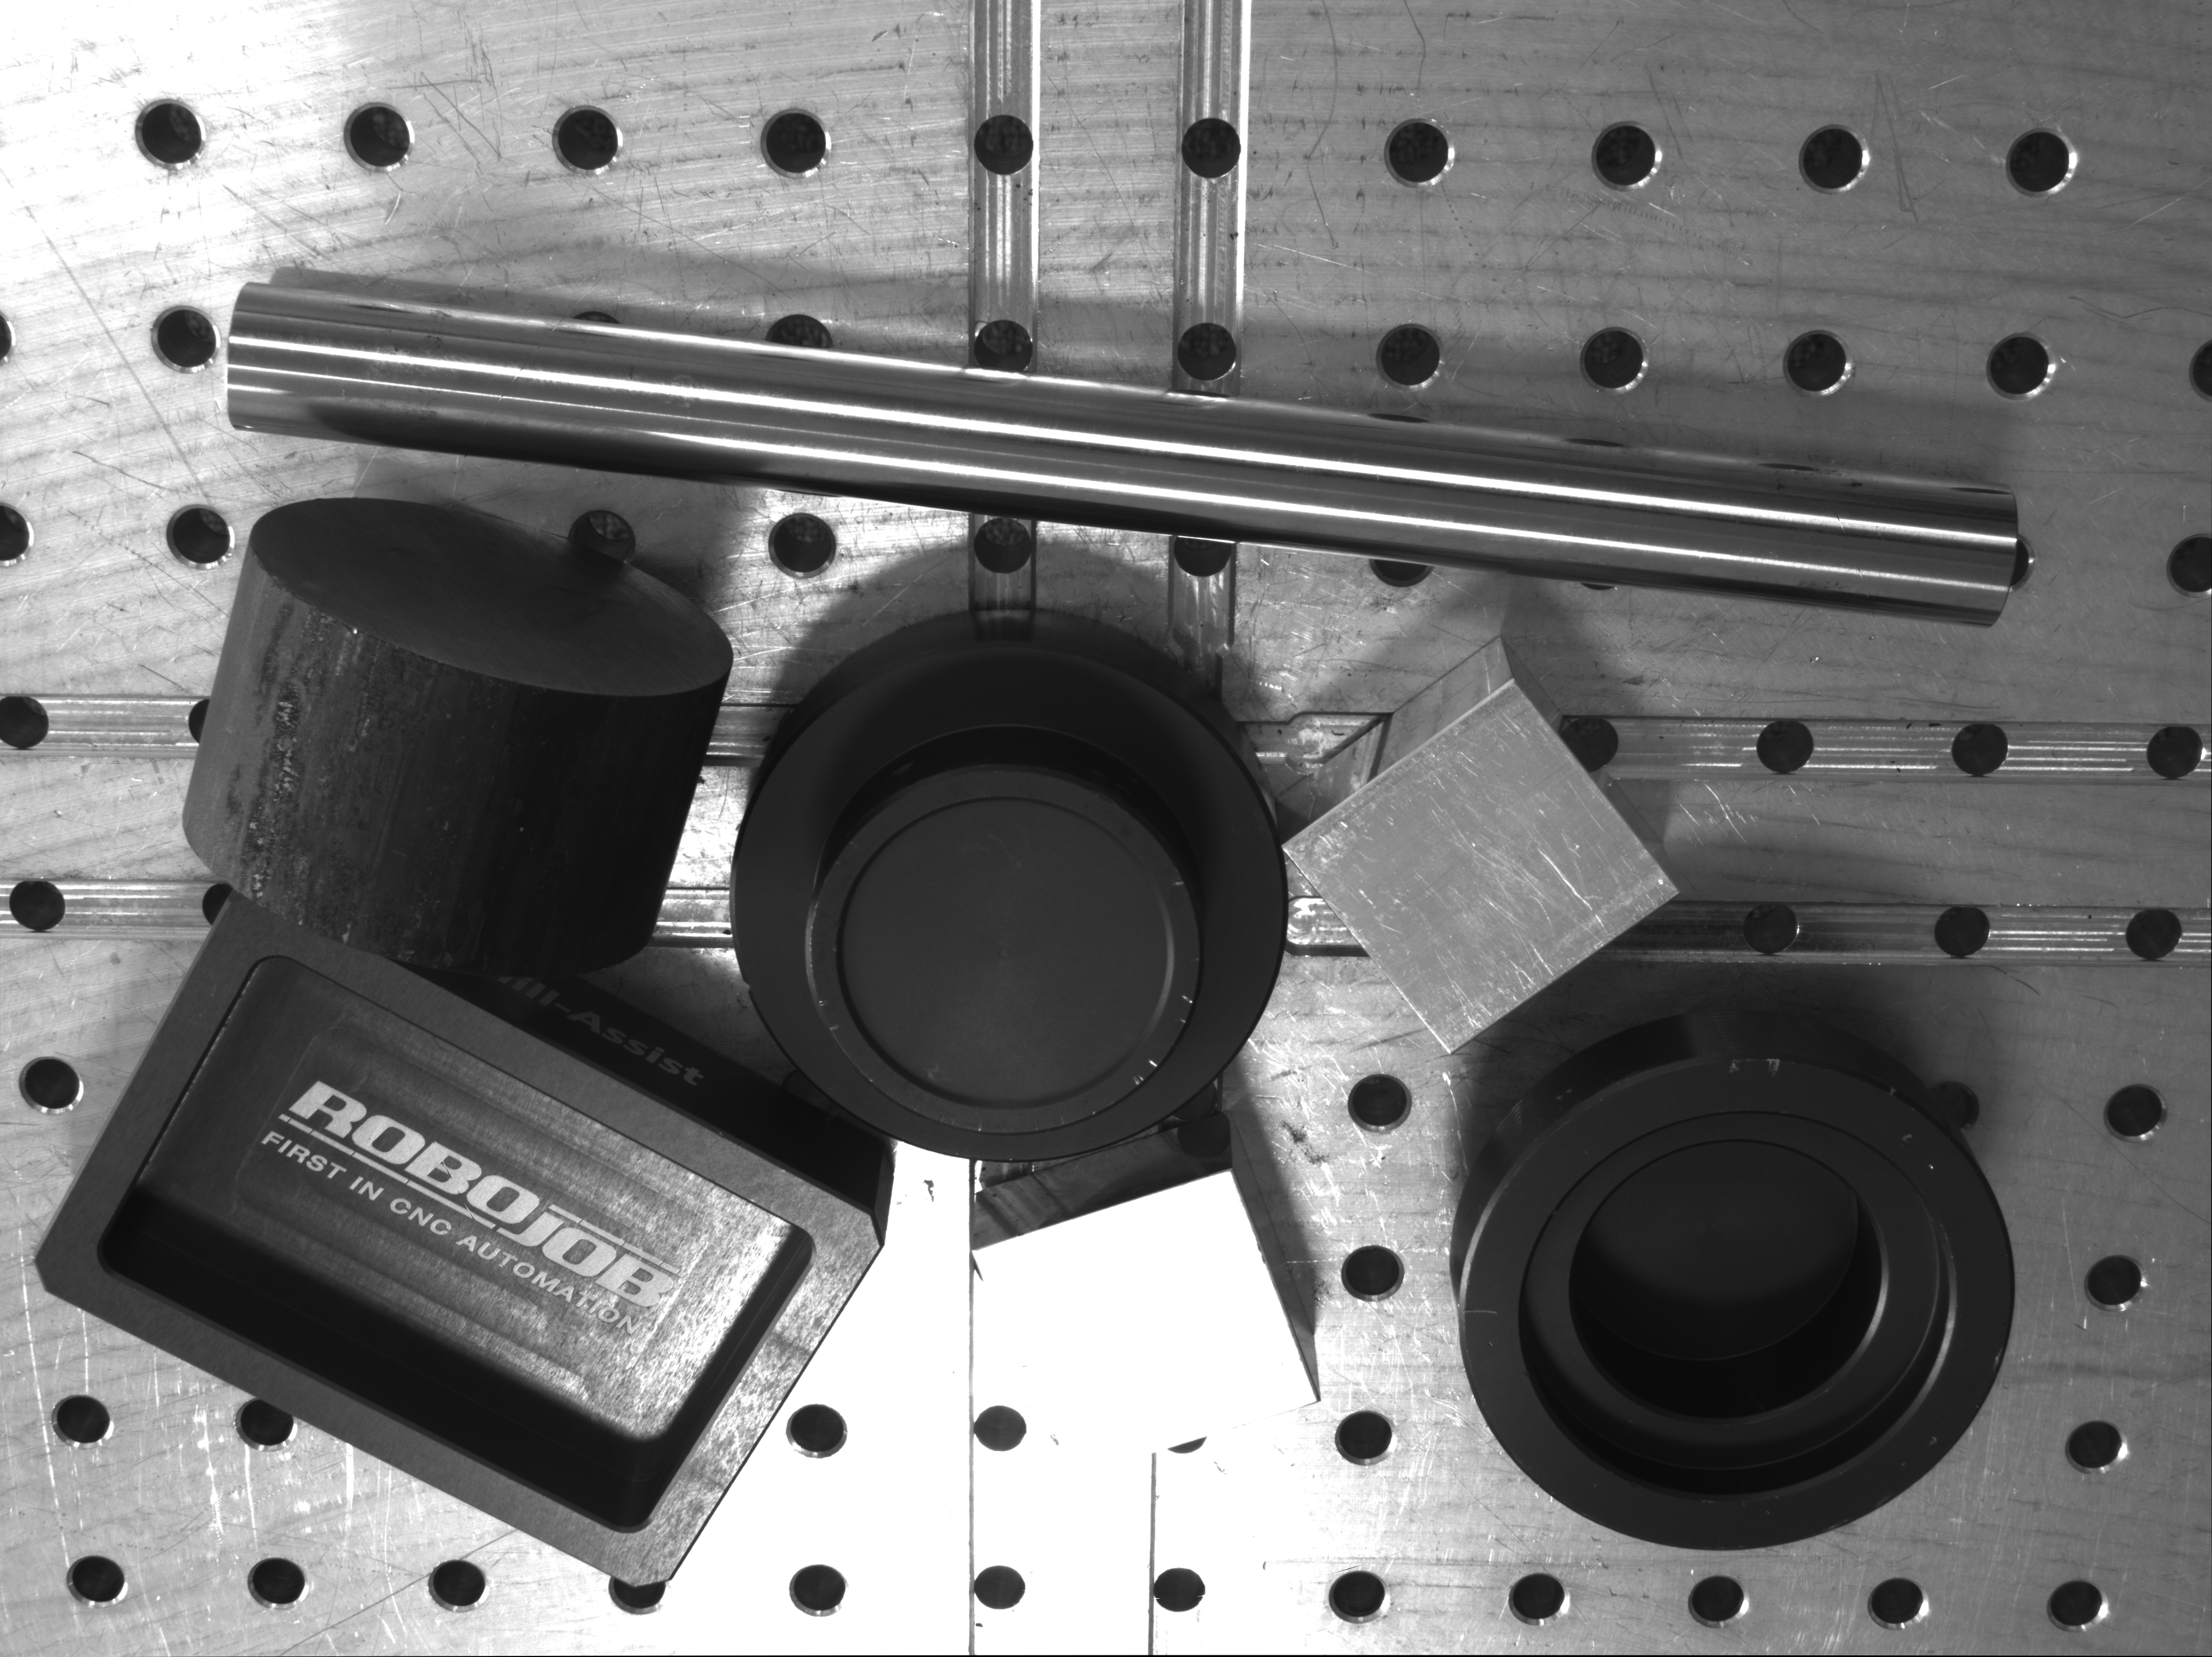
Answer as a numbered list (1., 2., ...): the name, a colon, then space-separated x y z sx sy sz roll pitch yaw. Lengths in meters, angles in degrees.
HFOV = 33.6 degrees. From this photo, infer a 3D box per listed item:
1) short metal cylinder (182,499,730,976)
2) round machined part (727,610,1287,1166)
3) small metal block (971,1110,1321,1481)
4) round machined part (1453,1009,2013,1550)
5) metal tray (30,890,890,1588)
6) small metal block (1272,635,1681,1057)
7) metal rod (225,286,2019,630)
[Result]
1. short metal cylinder: -0.108 -0.016 0.610 0.080 0.080 0.050 17 109 -6
2. round machined part: -0.017 0.014 0.641 0.098 0.042 0.098 0 107 0
3. small metal block: 0.008 0.086 0.677 0.050 0.025 0.050 -18 109 6
4. round machined part: 0.111 0.078 0.665 0.098 0.042 0.098 0 110 0
5. metal tray: -0.116 0.071 0.668 0.130 0.030 0.090 29 108 -10
6. small metal block: 0.065 0.003 0.648 0.050 0.025 0.050 -37 106 12
7. metal rod: 0.004 -0.063 0.623 0.300 0.025 0.025 6 110 -2
